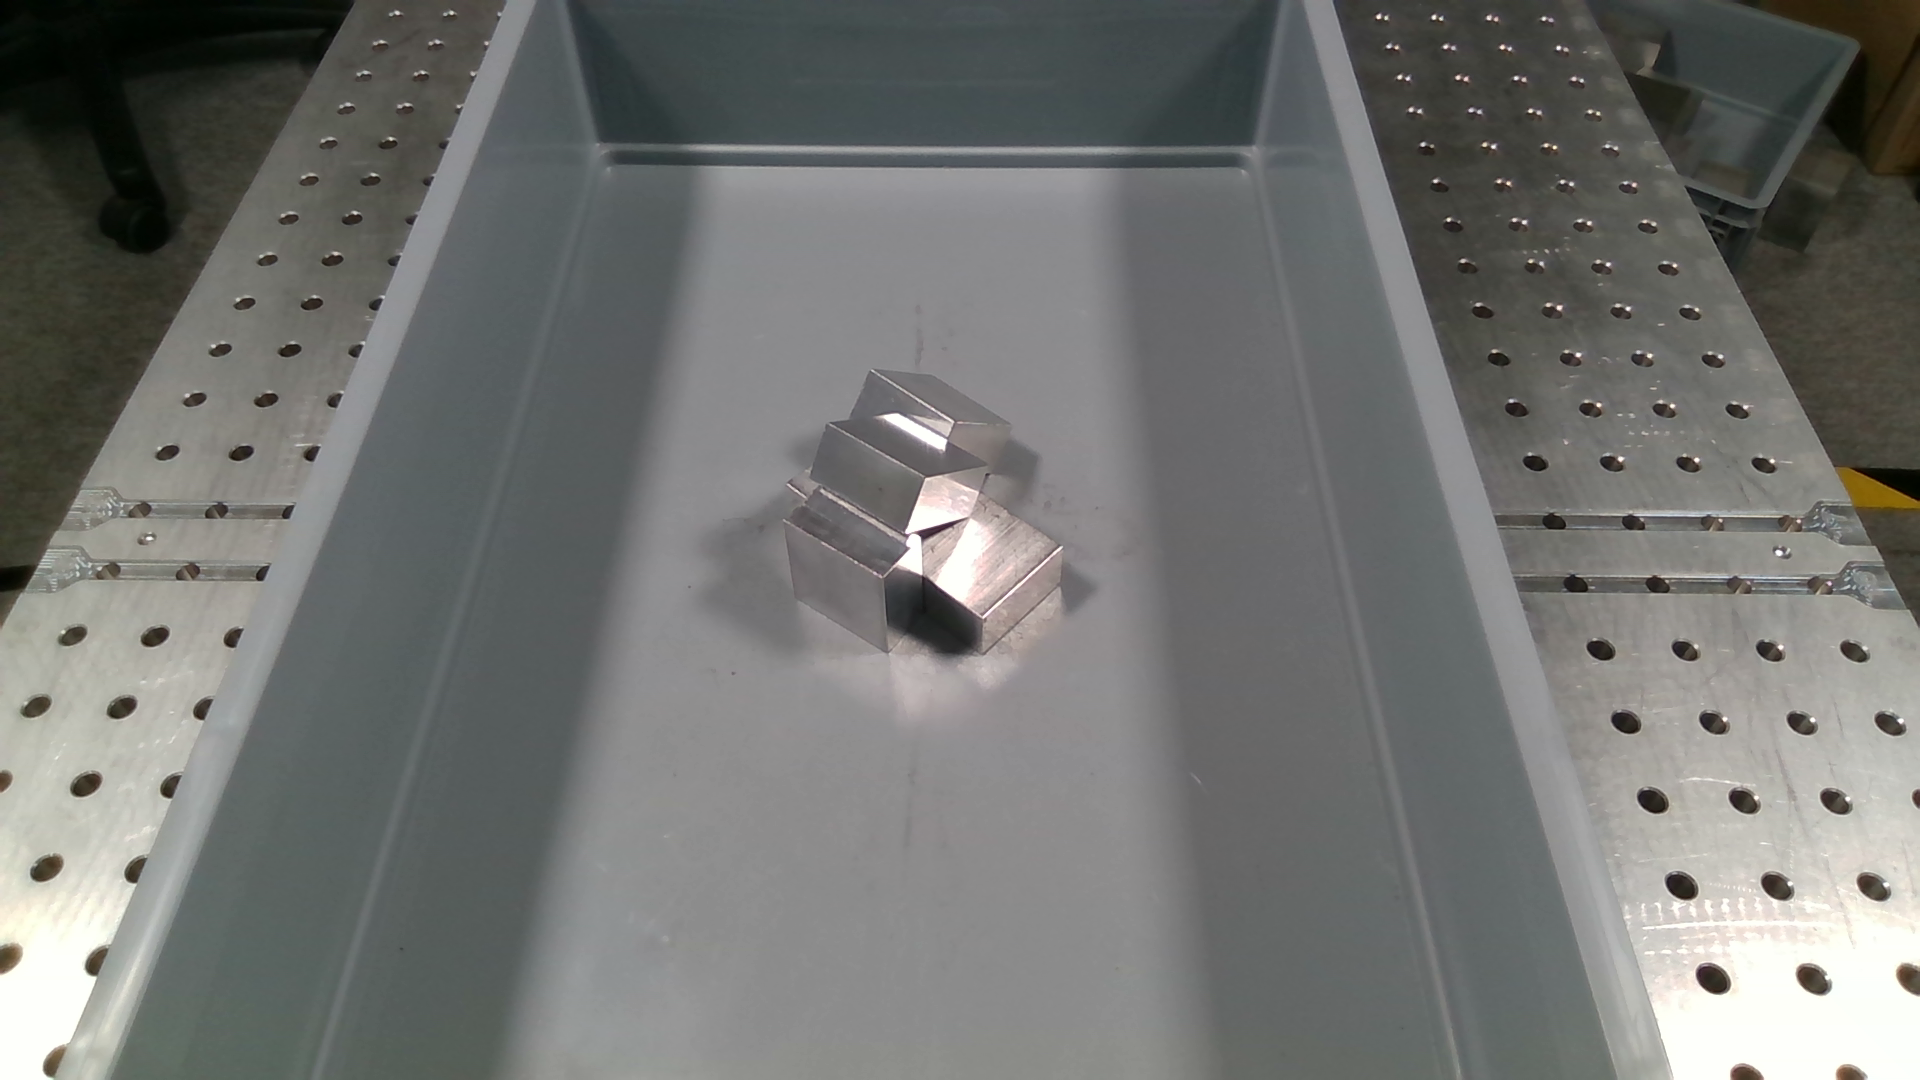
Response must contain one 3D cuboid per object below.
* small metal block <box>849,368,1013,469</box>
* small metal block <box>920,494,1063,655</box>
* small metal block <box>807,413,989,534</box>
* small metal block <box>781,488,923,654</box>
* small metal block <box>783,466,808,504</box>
[{"bbox_3d":[-0.013,-0.053,0.613,0.050,0.025,0.050,34,19,26],"label":"small metal block"},{"bbox_3d":[0.007,0.012,0.575,0.050,0.025,0.050,35,58,25],"label":"small metal block"},{"bbox_3d":[-0.025,-0.028,0.561,0.050,0.025,0.050,30,23,23],"label":"small metal block"},{"bbox_3d":[-0.043,0.012,0.559,0.050,0.050,0.025,28,56,22],"label":"small metal block"},{"bbox_3d":[-0.040,-0.017,0.600,0.050,0.025,0.050,35,58,25],"label":"small metal block"}]
